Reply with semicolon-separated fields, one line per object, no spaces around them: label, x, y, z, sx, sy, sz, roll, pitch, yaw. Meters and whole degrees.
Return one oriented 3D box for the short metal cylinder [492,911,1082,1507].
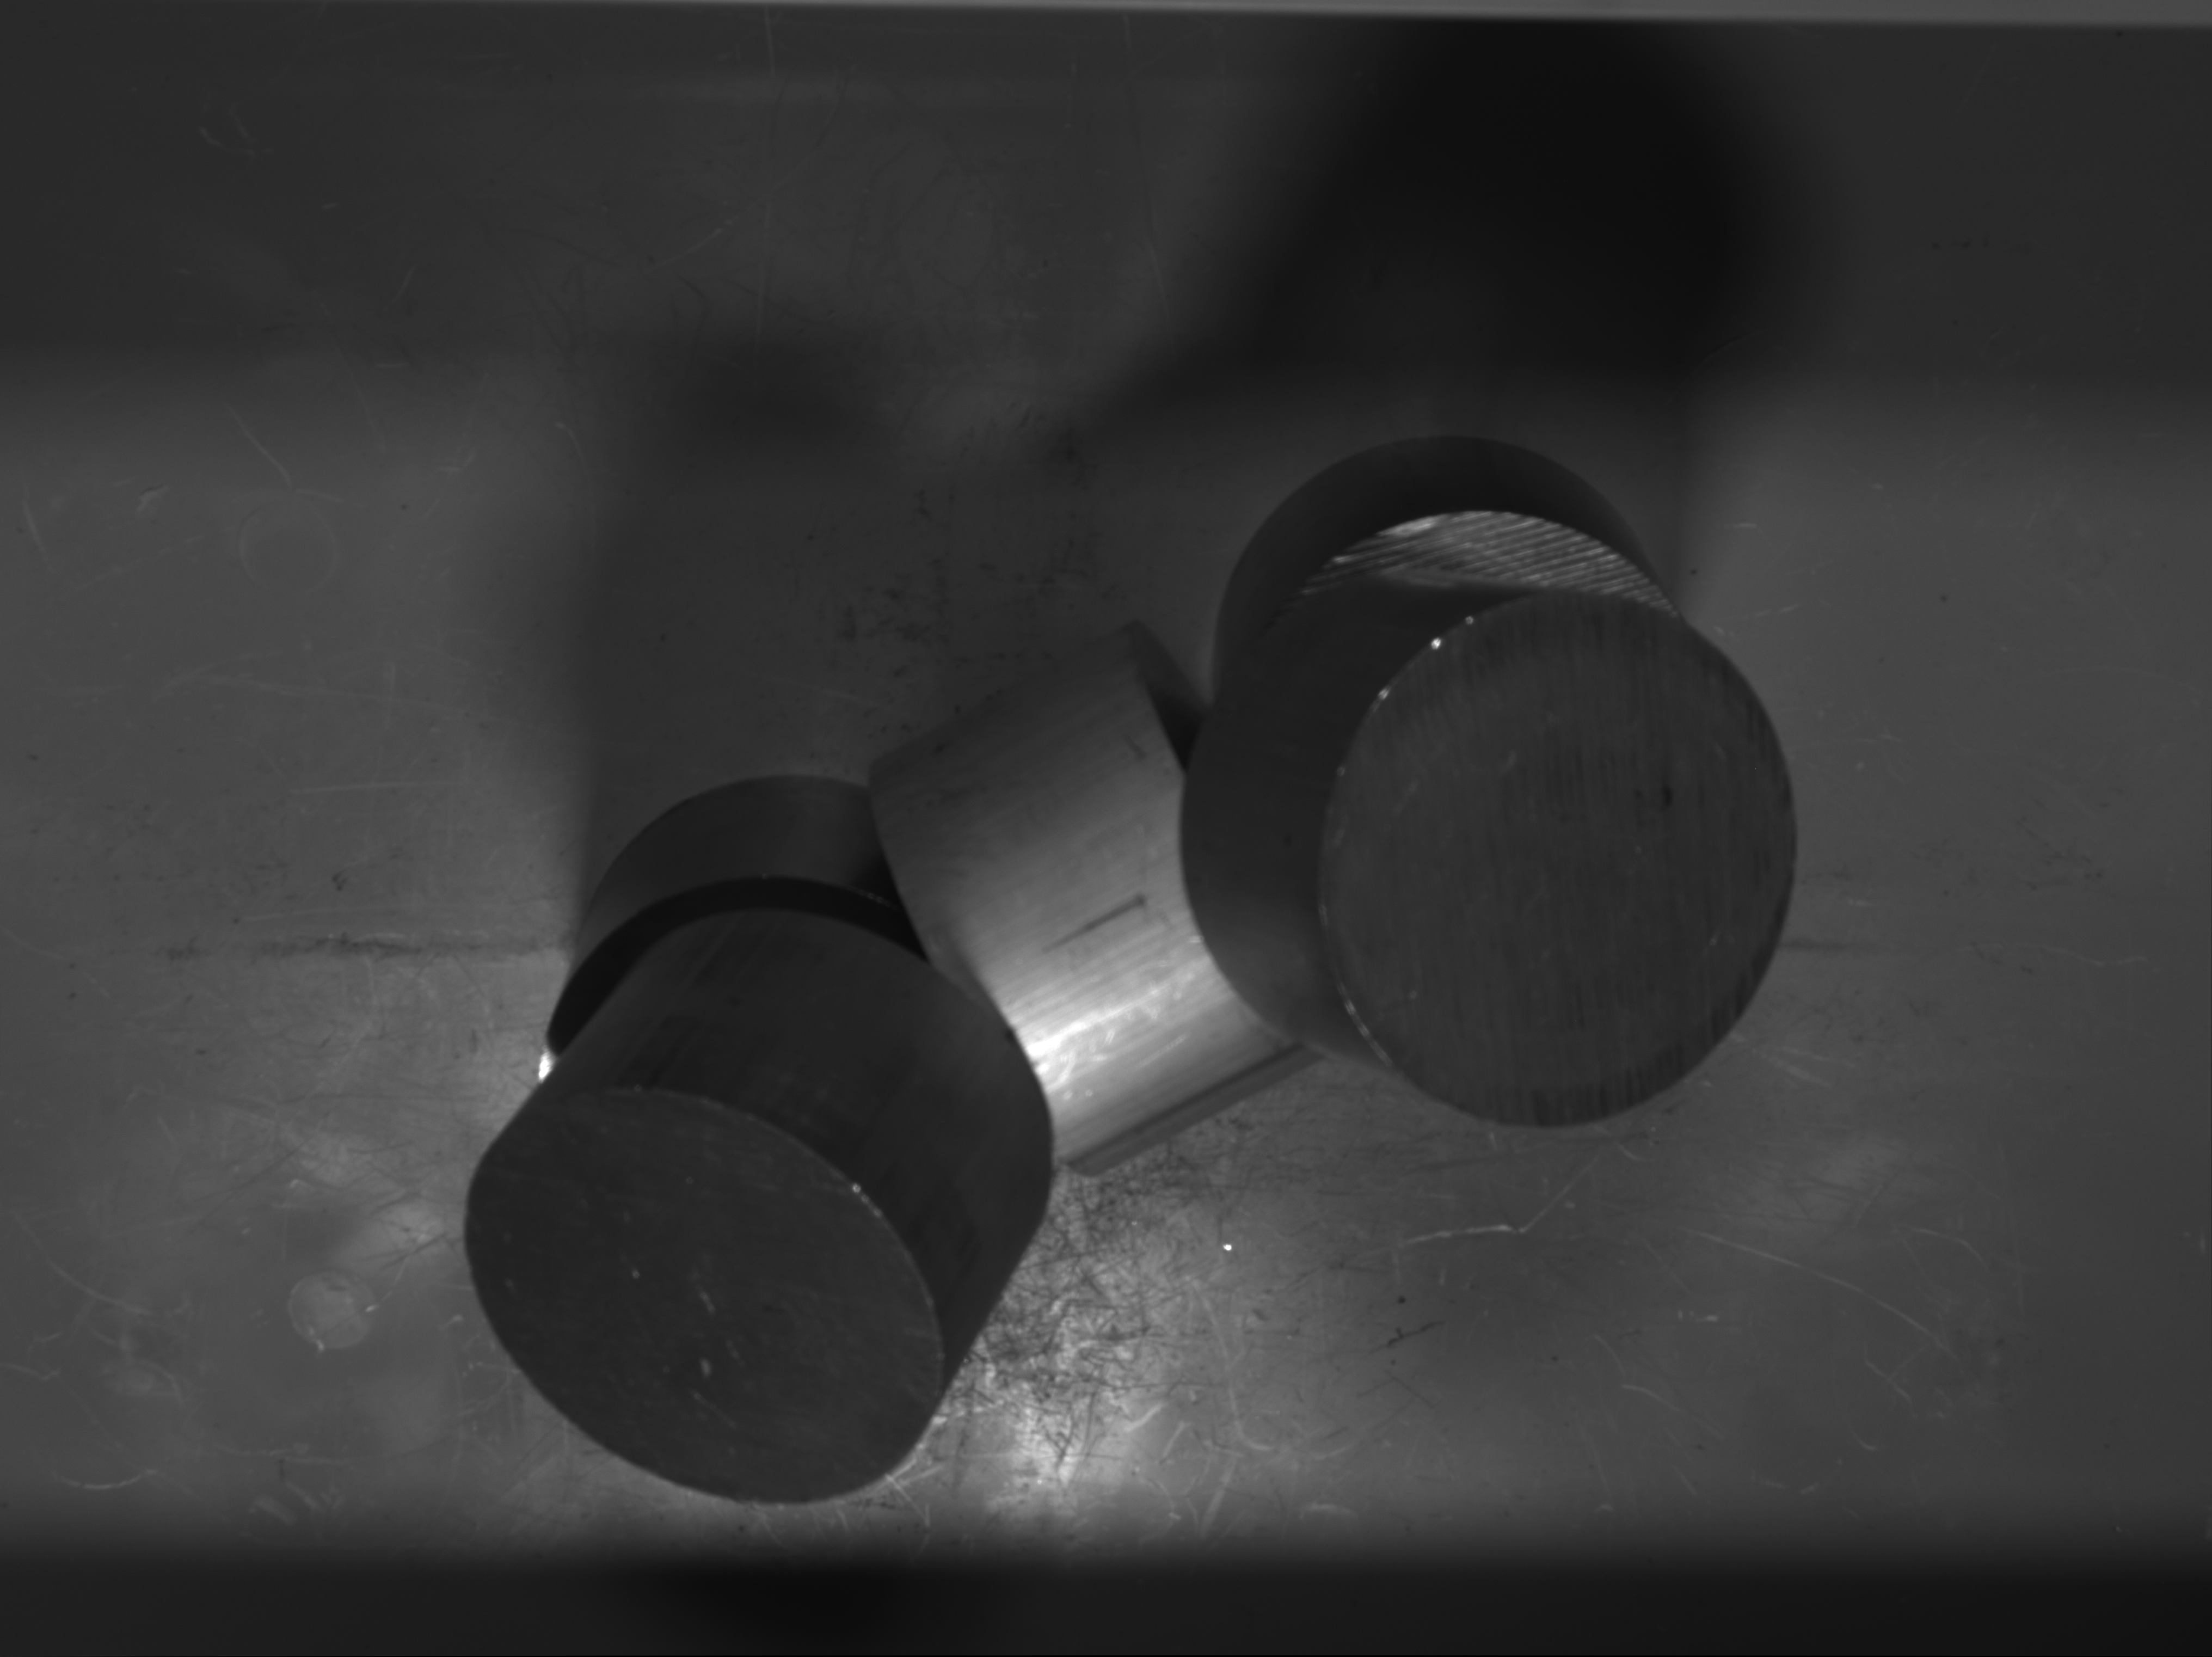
short metal cylinder;-0.050;0.060;0.581;0.080;0.050;0.080;11;124;16

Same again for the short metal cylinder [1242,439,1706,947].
short metal cylinder;0.064;-0.021;0.622;0.080;0.050;0.080;0;110;-1

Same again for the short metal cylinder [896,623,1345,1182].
short metal cylinder;0.007;0.012;0.617;0.050;0.080;0.080;-28;108;9

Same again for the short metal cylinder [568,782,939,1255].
short metal cylinder;-0.051;0.038;0.641;0.080;0.050;0.080;0;110;-1

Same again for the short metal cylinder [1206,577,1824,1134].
short metal cylinder;0.062;0.003;0.561;0.080;0.050;0.080;-3;98;-22
